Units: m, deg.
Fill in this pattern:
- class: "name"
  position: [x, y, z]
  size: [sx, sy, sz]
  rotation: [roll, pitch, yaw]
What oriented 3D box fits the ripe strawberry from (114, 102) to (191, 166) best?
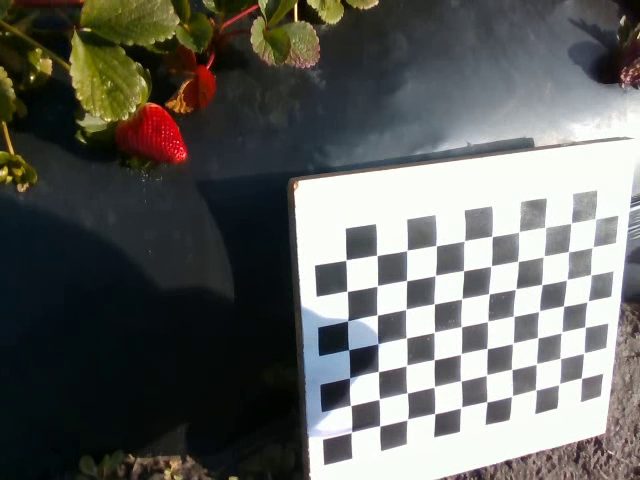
- class: "ripe strawberry"
  position: [-0.106, -0.064, 0.454]
  size: [0.056, 0.041, 0.040]
  rotation: [37, 5, 19]
